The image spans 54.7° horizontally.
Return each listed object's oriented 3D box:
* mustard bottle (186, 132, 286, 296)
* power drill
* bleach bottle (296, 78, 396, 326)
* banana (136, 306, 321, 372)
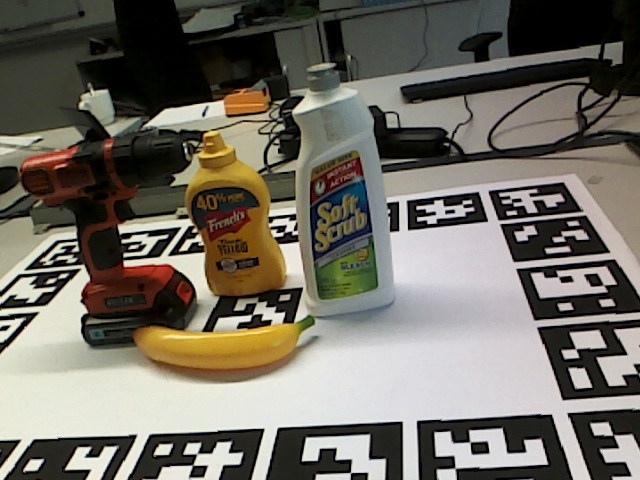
[{"bbox_3d":[-0.101,-0.030,0.712,0.096,0.191,0.058,-5,26,10],"label":"mustard bottle"},{"bbox_3d":[-0.211,-0.009,0.668,0.185,0.186,0.057,-5,19,6],"label":"power drill"},{"bbox_3d":[0.017,-0.035,0.630,0.102,0.250,0.068,-10,26,2],"label":"bleach bottle"},{"bbox_3d":[-0.099,0.100,0.616,0.198,0.038,0.074,-6,30,13],"label":"banana"}]
